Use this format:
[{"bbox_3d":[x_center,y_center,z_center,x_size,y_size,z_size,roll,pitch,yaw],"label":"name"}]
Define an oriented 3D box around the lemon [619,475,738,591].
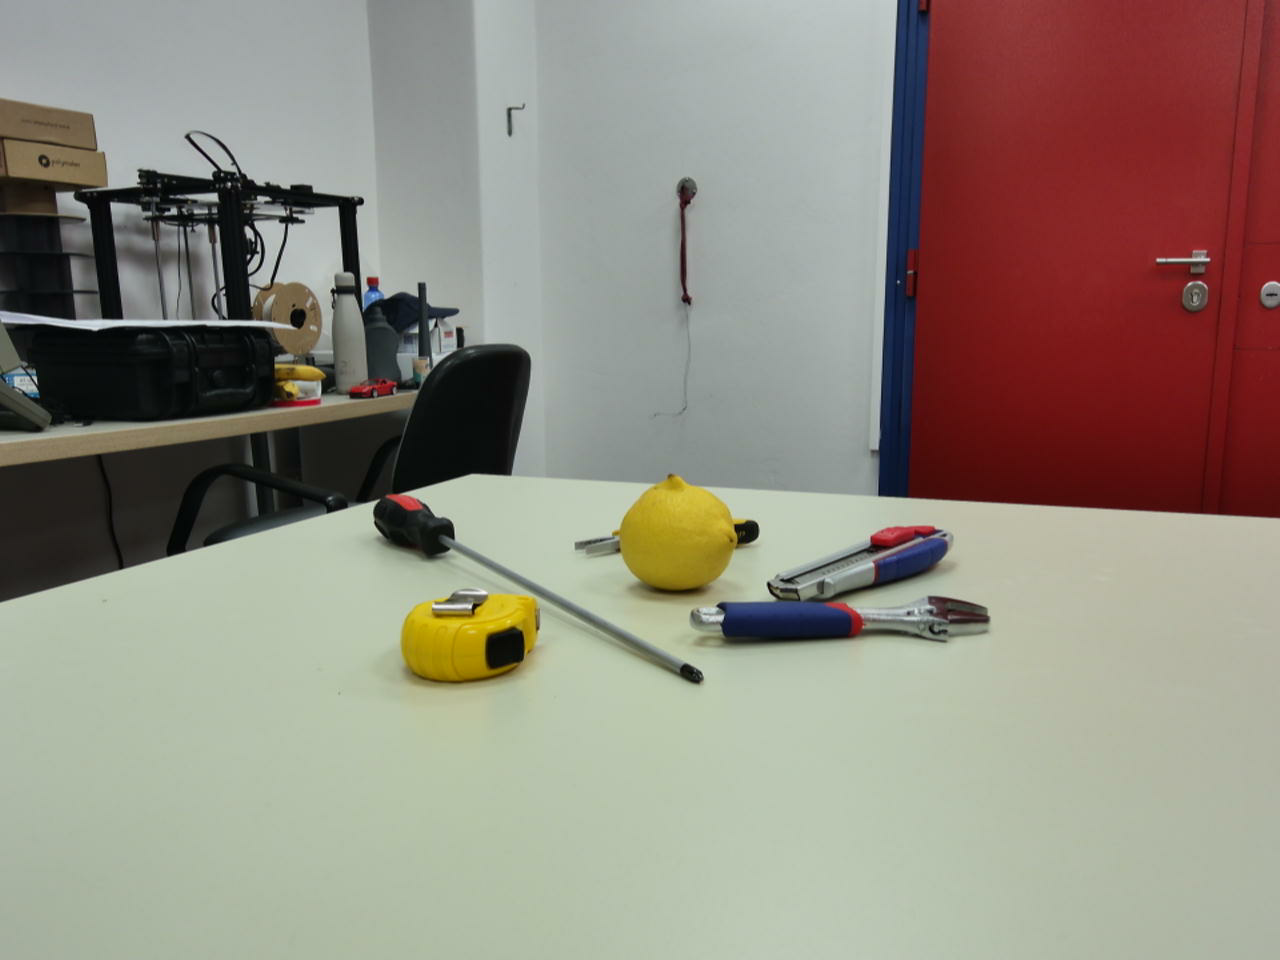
[{"bbox_3d":[0.023,0.032,0.618,0.070,0.071,0.071,-2,7,-11],"label":"lemon"}]
